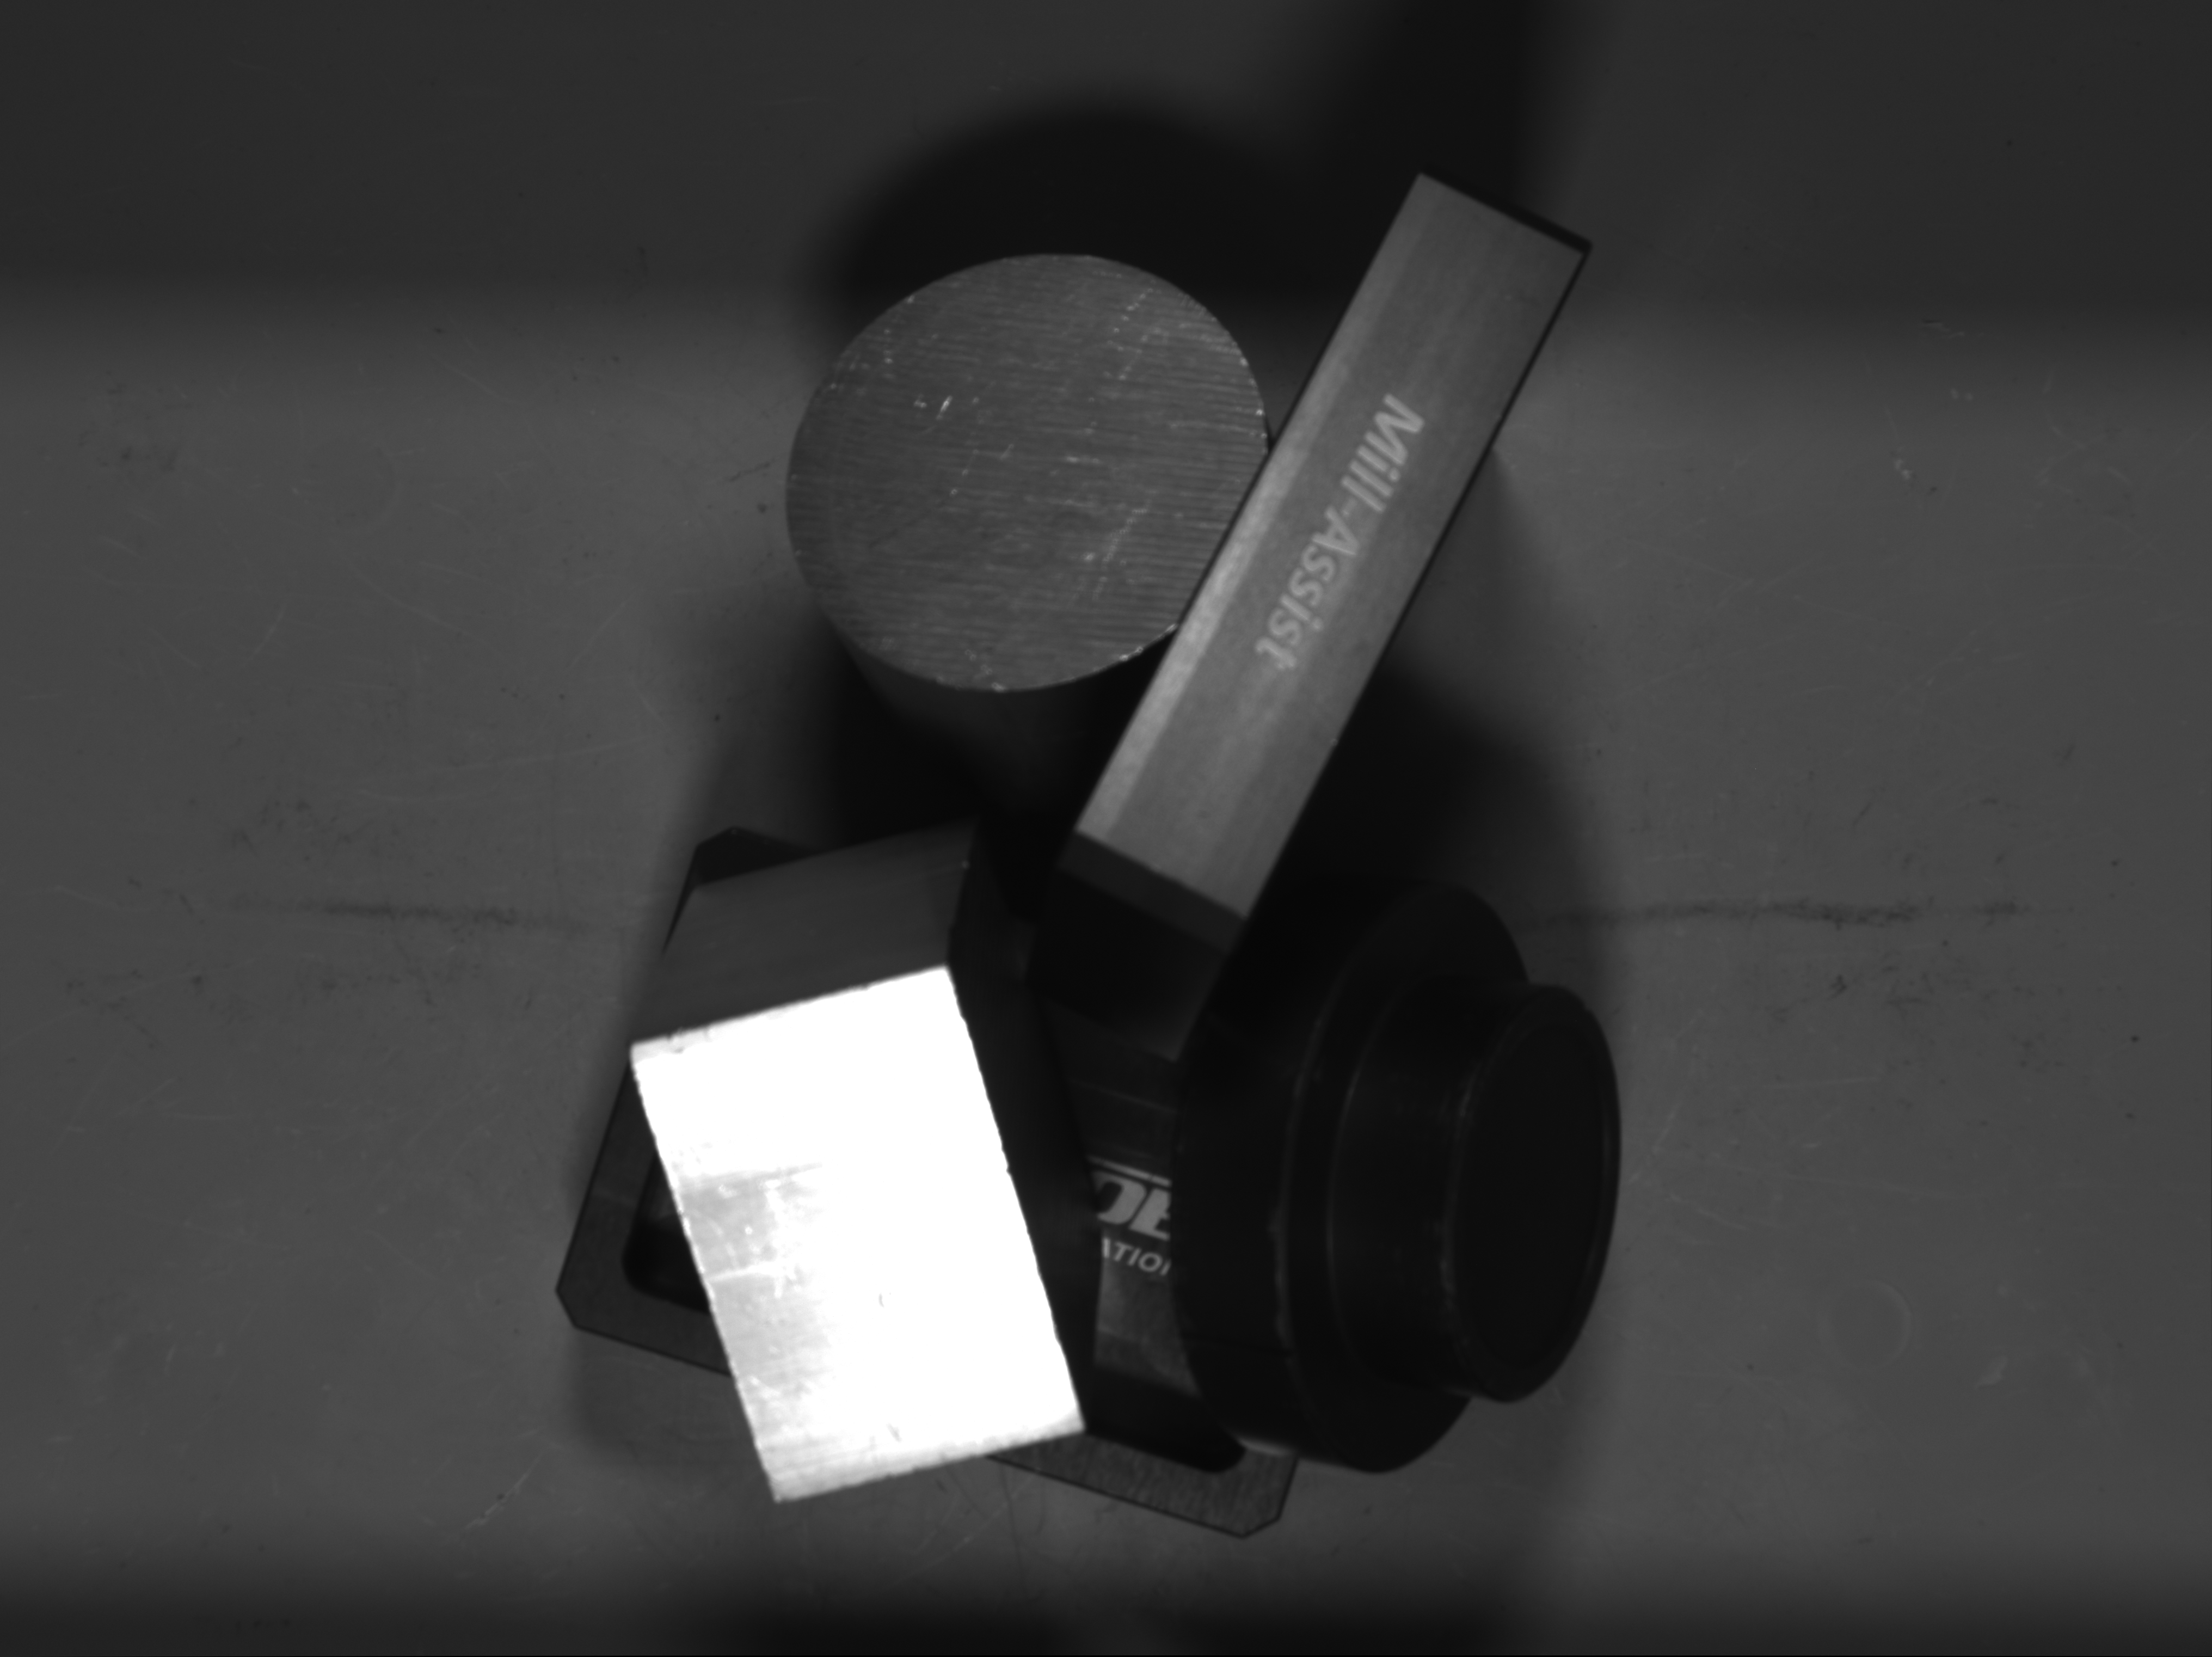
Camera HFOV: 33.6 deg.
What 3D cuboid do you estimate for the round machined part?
[{"bbox_3d":[0.052,0.058,0.604,0.042,0.098,0.098,6,90,30],"label":"round machined part"}]

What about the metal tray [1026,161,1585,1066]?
[{"bbox_3d":[0.031,-0.033,0.596,0.030,0.090,0.130,26,74,3],"label":"metal tray"}]

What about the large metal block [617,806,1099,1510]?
[{"bbox_3d":[-0.037,0.051,0.593,0.050,0.080,0.080,-15,106,6],"label":"large metal block"}]

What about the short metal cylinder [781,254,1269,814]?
[{"bbox_3d":[-0.009,-0.049,0.617,0.080,0.050,0.080,-4,66,10],"label":"short metal cylinder"}]

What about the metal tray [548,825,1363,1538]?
[{"bbox_3d":[-0.021,0.060,0.640,0.130,0.030,0.090,17,90,0],"label":"metal tray"}]
